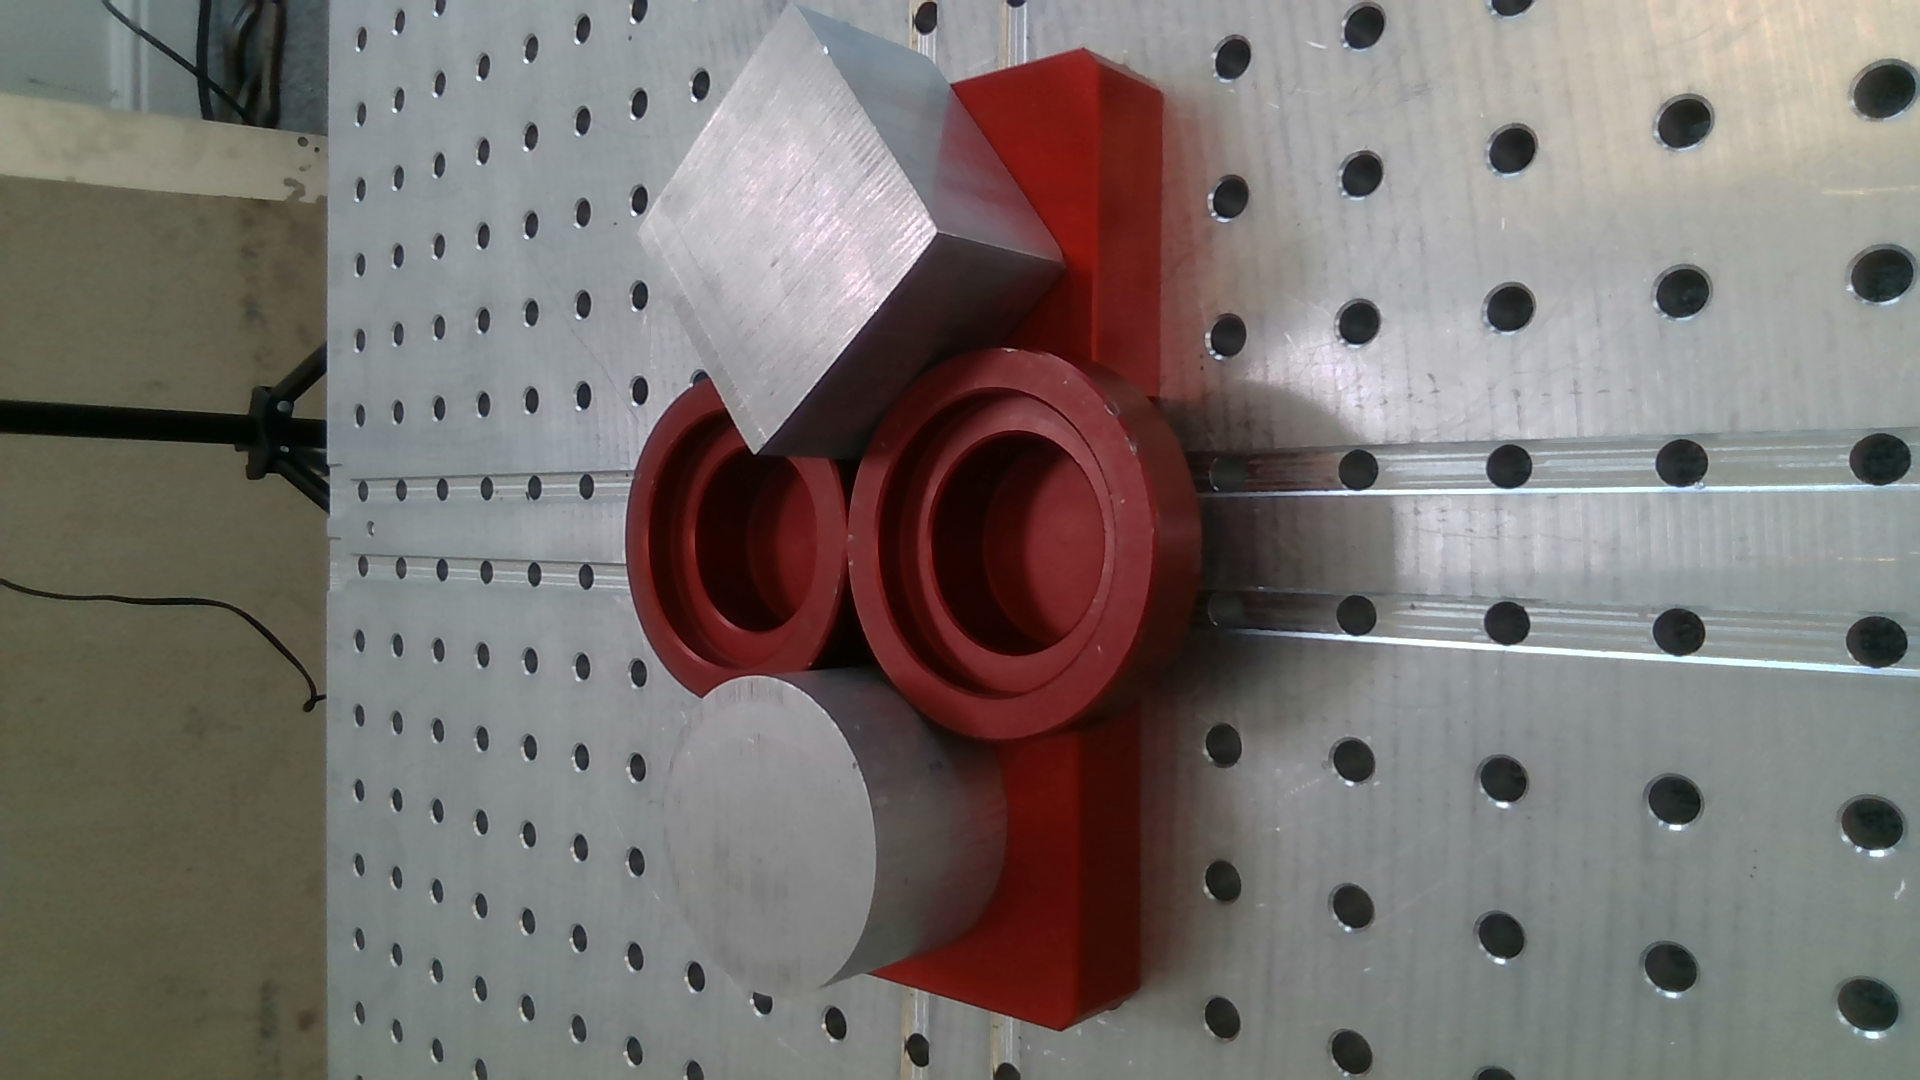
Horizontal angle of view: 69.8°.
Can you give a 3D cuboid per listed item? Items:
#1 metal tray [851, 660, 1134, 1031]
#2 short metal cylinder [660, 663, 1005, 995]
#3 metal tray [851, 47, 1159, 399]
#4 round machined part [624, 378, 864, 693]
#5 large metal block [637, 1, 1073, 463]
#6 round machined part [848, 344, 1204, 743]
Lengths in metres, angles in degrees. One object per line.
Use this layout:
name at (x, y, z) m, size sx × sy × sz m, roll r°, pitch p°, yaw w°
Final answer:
metal tray at (-0.012, 0.080, 0.399) m, size 0.130 × 0.030 × 0.090 m, roll 1°, pitch 91°, yaw 40°
short metal cylinder at (-0.035, 0.074, 0.367) m, size 0.080 × 0.050 × 0.080 m, roll 0°, pitch 91°, yaw 40°
metal tray at (-0.006, -0.079, 0.395) m, size 0.130 × 0.030 × 0.090 m, roll 1°, pitch 92°, yaw 40°
round machined part at (-0.055, 0.000, 0.418) m, size 0.098 × 0.042 × 0.098 m, roll 0°, pitch 91°, yaw 40°
large metal block at (-0.030, -0.077, 0.363) m, size 0.080 × 0.050 × 0.080 m, roll -45°, pitch 63°, yaw 31°
round machined part at (0.020, 0.001, 0.354) m, size 0.098 × 0.042 × 0.098 m, roll 0°, pitch 91°, yaw 40°
